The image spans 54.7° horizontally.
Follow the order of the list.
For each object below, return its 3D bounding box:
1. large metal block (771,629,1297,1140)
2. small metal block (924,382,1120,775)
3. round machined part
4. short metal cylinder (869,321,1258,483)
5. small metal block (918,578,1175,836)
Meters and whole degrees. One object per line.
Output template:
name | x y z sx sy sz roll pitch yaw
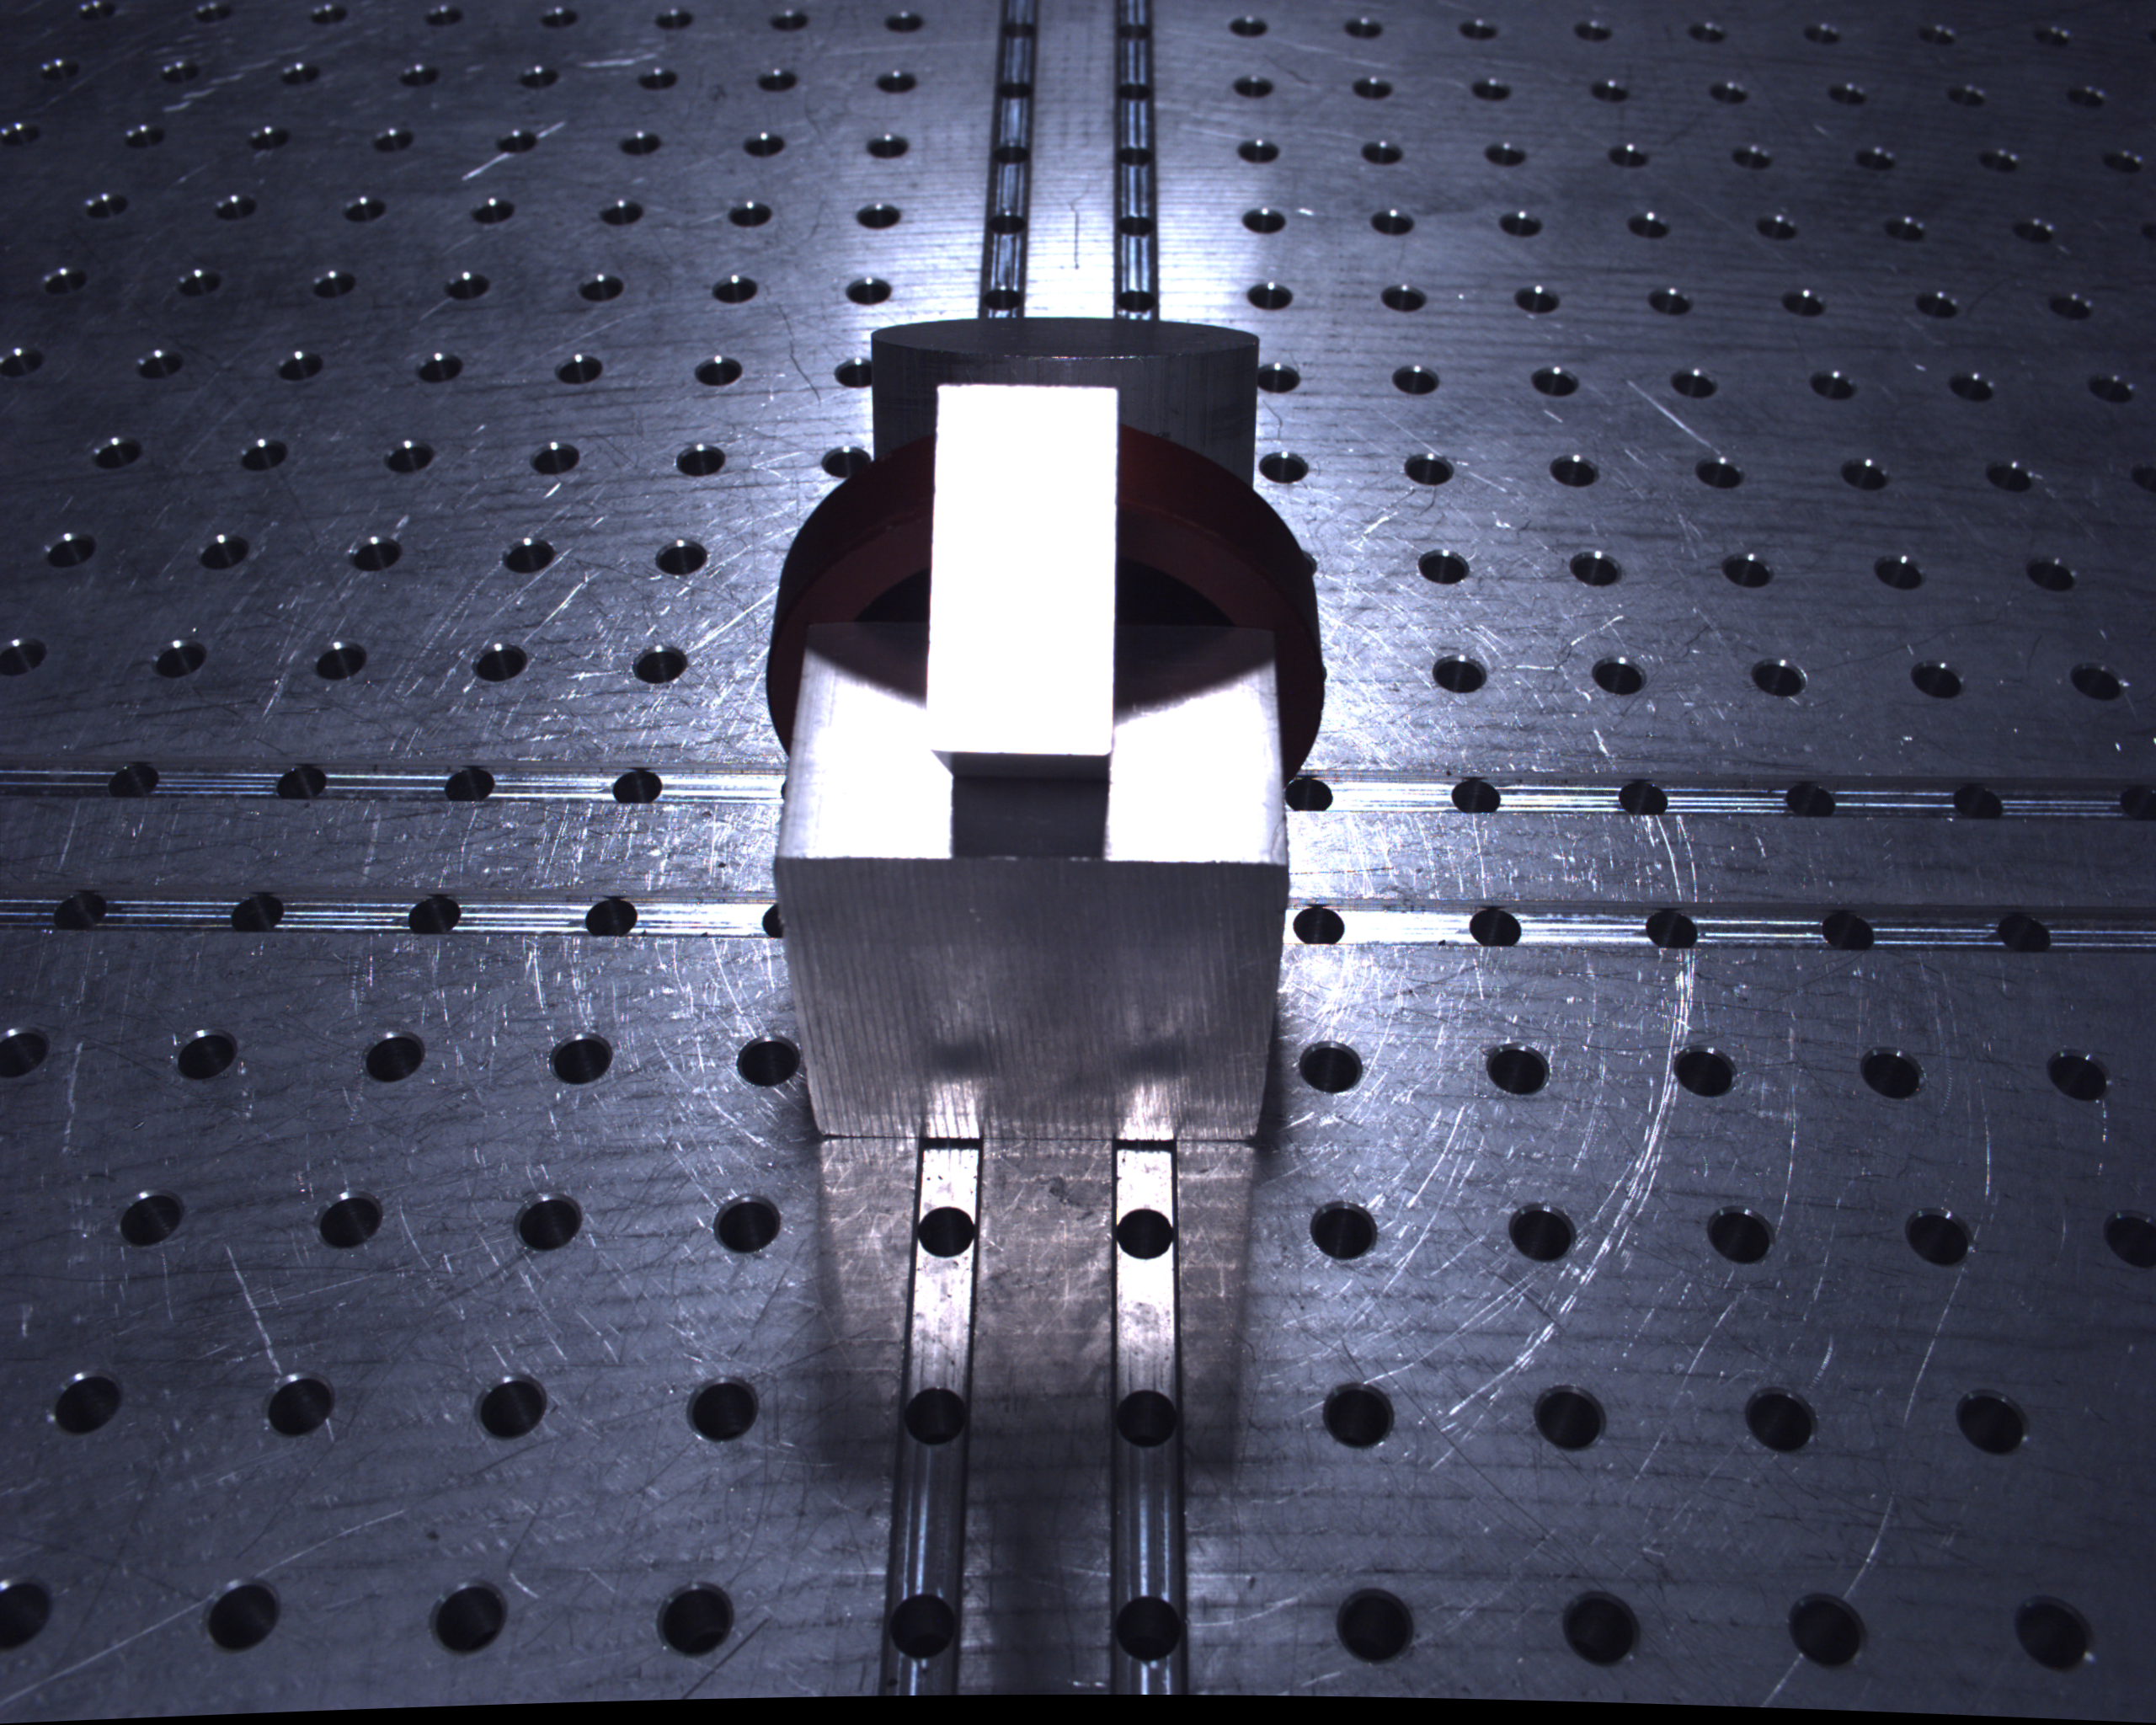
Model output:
large metal block | -0.007 0.006 0.366 0.081 0.080 0.050 1 50 0
small metal block | -0.007 -0.039 0.306 0.025 0.050 0.050 1 88 0
round machined part | -0.006 -0.043 0.383 0.099 0.097 0.042 1 50 0
short metal cylinder | -0.003 -0.086 0.442 0.081 0.050 0.080 1 20 0
small metal block | -0.006 -0.033 0.434 0.050 0.025 0.050 1 50 0
